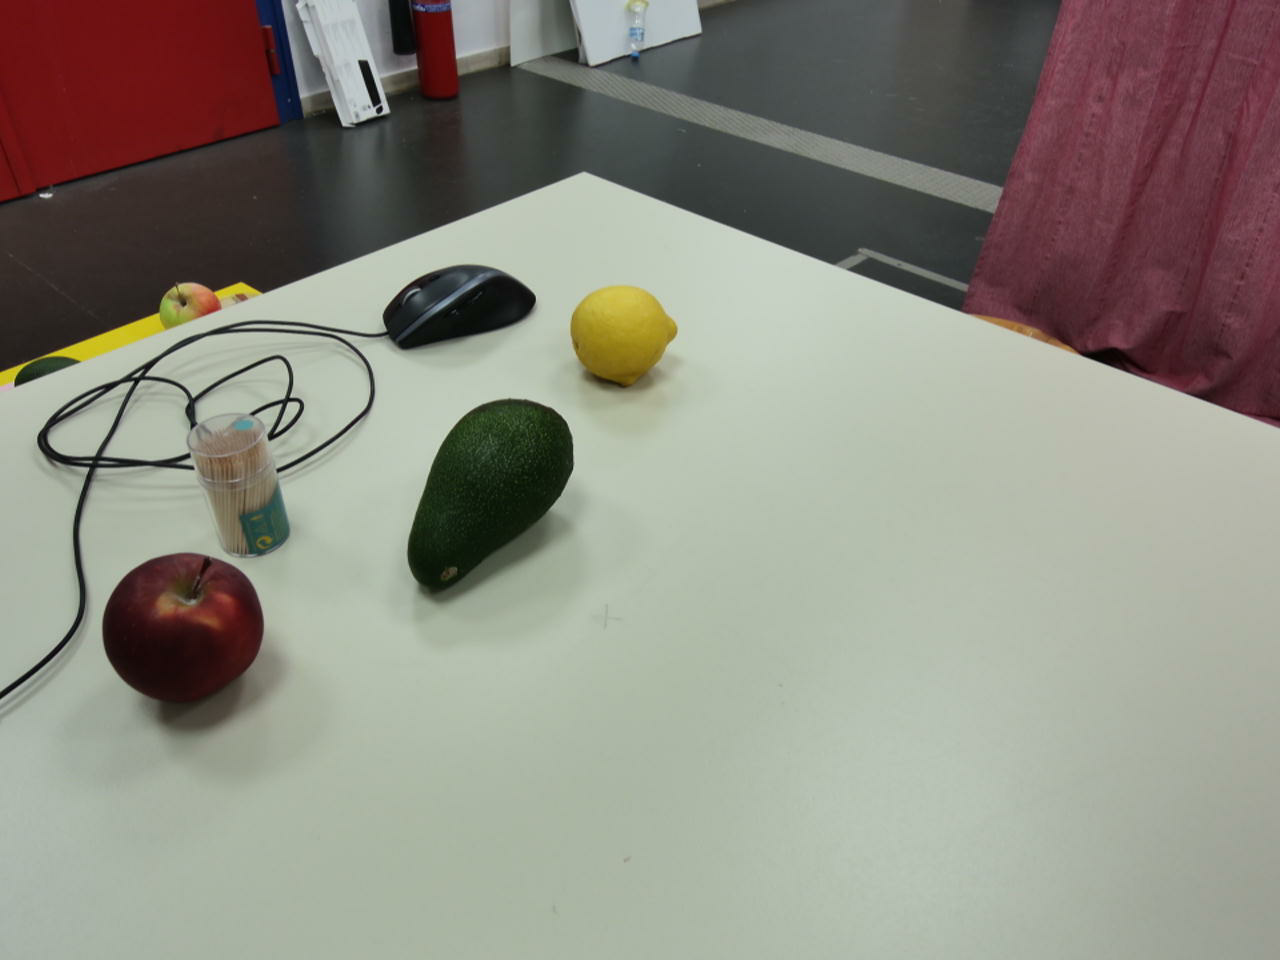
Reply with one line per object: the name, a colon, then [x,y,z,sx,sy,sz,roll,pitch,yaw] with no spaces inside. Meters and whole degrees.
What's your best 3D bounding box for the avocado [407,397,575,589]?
avocado: [-0.091,-0.001,0.567,0.123,0.076,0.074,-28,46,-33]
